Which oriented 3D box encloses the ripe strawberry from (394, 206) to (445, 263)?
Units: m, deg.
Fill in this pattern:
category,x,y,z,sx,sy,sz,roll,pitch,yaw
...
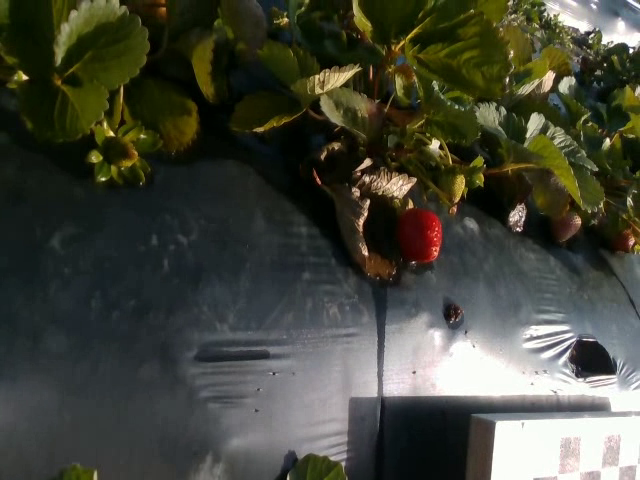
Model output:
category,x,y,z,sx,sy,sz,roll,pitch,yaw
ripe strawberry,0.063,0.004,0.354,0.046,0.037,0.054,34,26,-29
